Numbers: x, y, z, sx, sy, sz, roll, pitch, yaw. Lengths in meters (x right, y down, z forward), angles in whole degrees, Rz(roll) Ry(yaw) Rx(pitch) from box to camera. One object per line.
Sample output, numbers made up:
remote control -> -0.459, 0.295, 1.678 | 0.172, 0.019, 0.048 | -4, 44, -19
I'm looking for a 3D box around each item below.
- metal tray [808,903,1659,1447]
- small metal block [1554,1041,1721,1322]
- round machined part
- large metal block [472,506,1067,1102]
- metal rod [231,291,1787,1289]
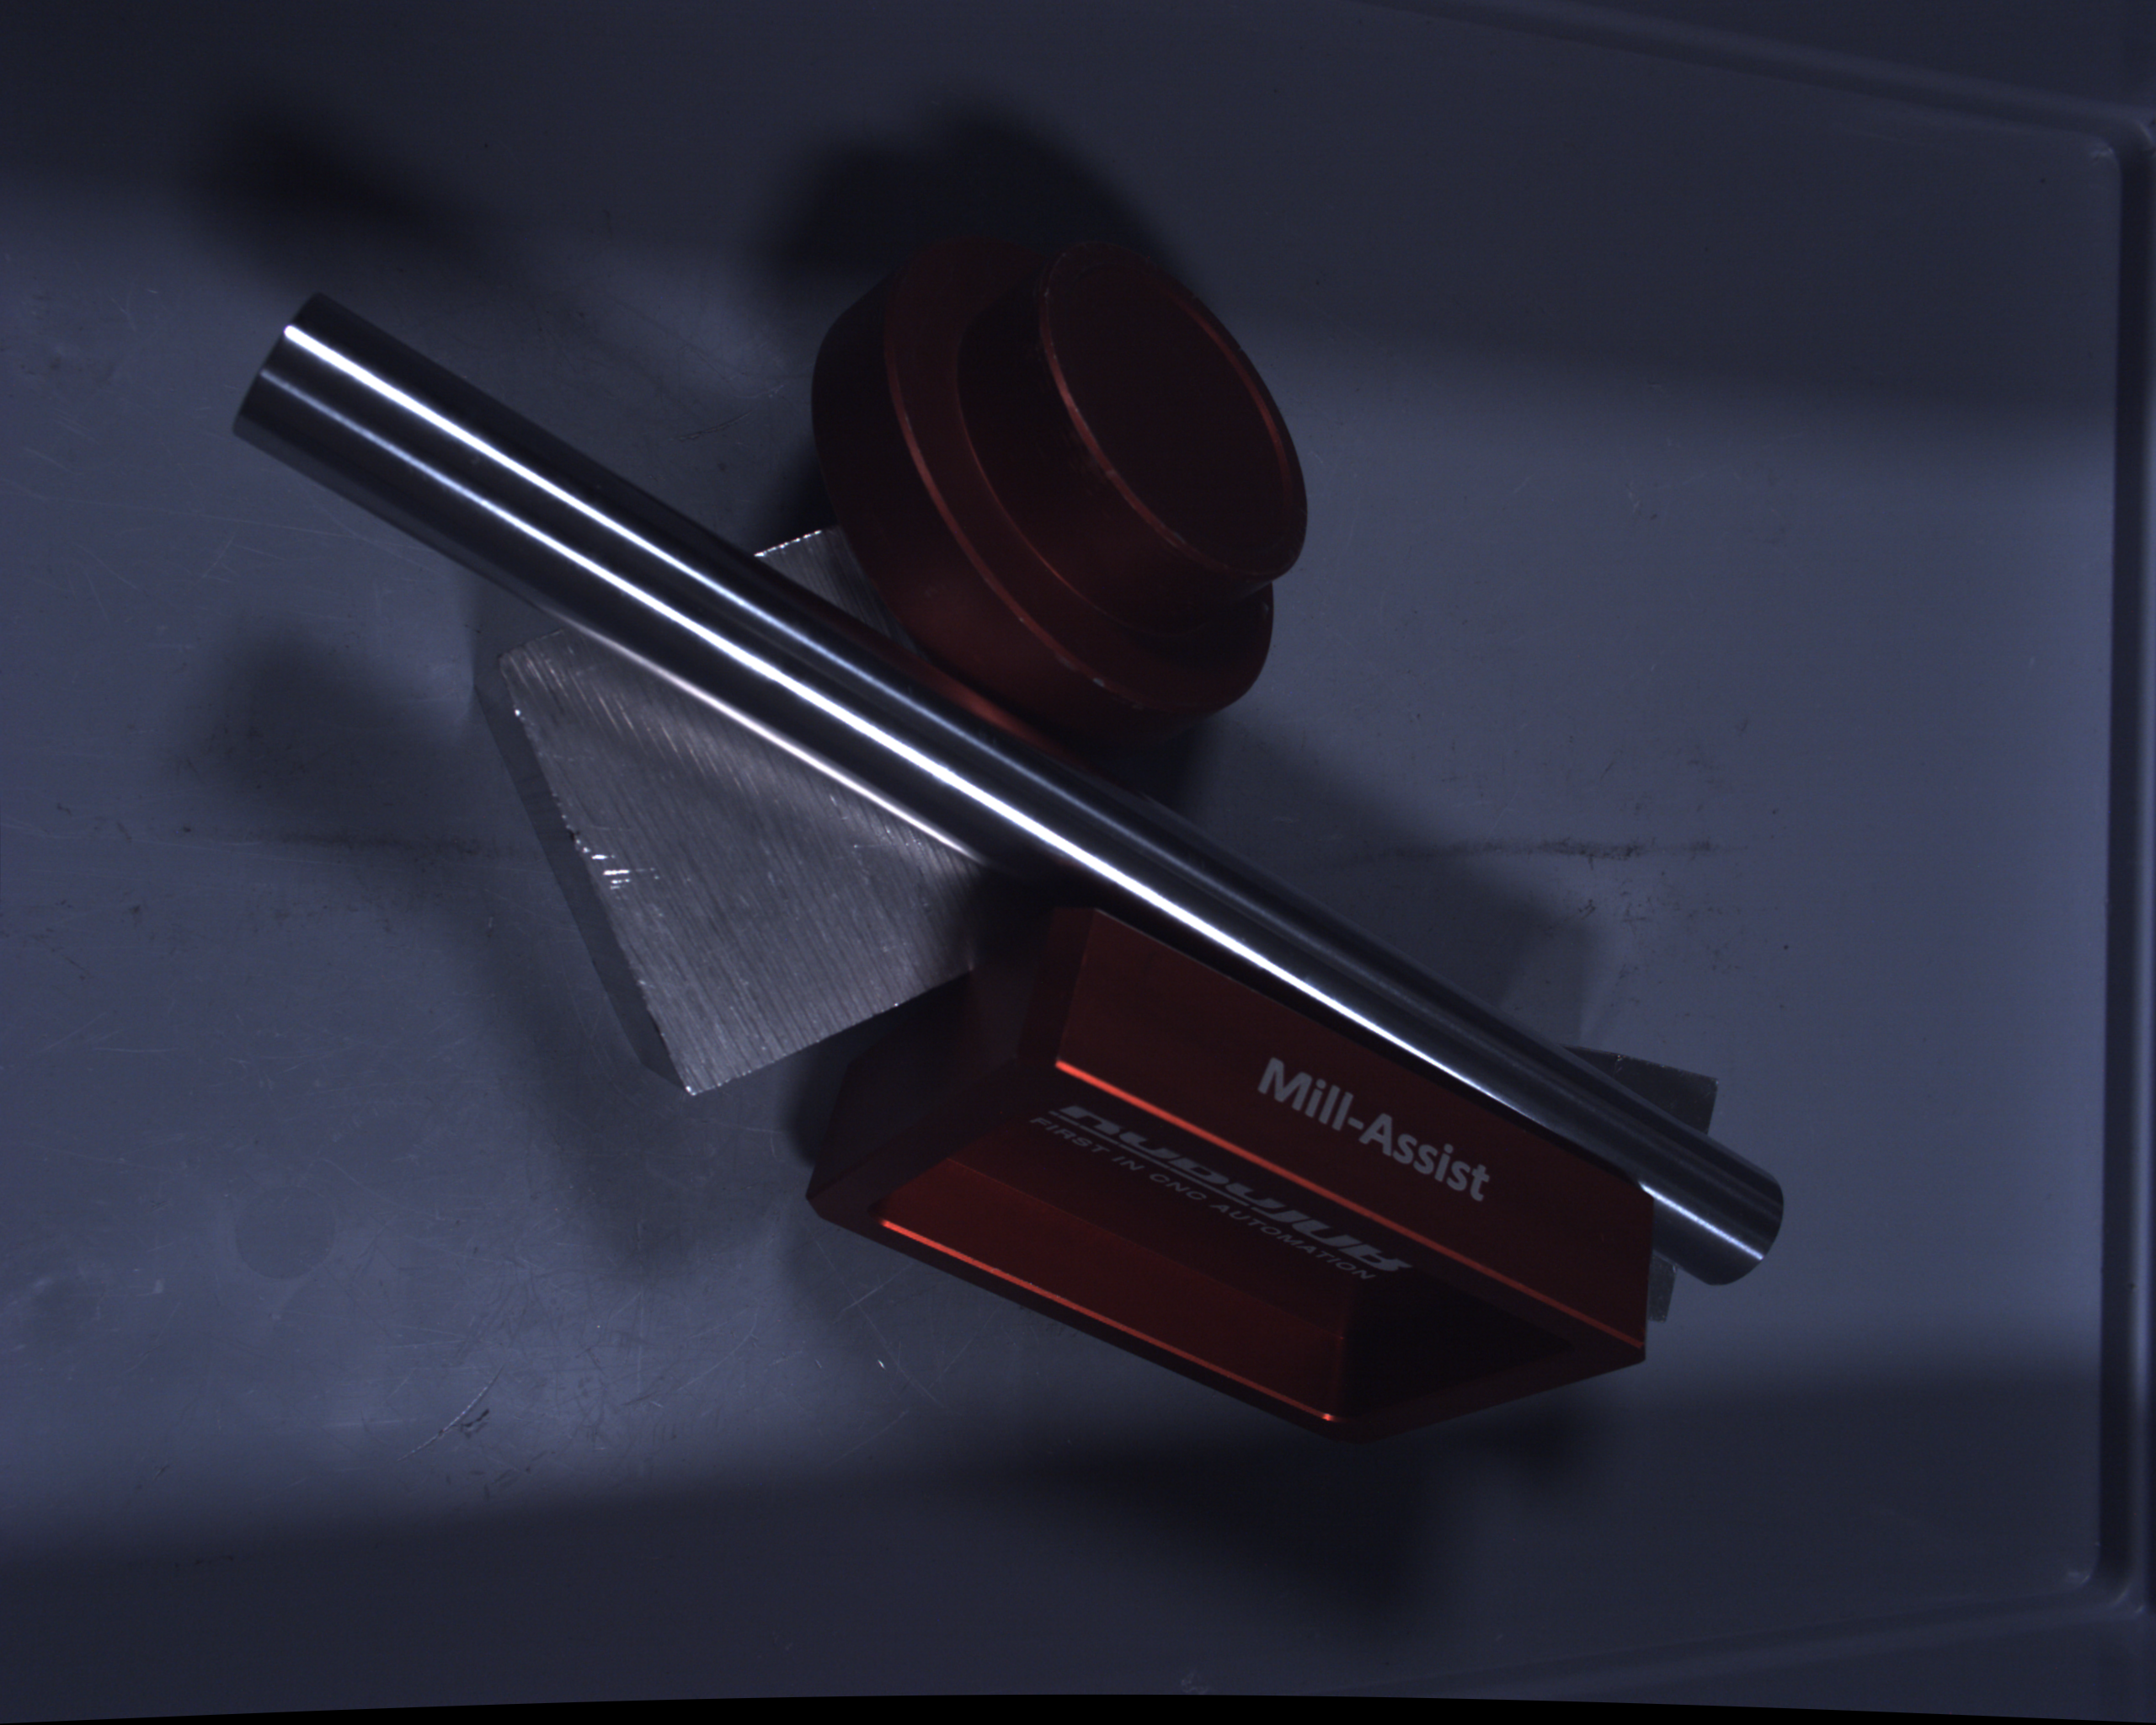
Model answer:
metal tray -> 0.028, 0.063, 0.382 | 0.131, 0.090, 0.030 | 28, 53, -19
small metal block -> 0.103, 0.064, 0.435 | 0.025, 0.050, 0.050 | 16, 85, -20
round machined part -> 0.004, -0.071, 0.375 | 0.098, 0.042, 0.098 | 31, 45, -35
large metal block -> -0.053, -0.012, 0.376 | 0.081, 0.050, 0.080 | -24, 98, -19
metal rod -> 0.004, -0.002, 0.357 | 0.301, 0.025, 0.025 | 30, 80, -18
